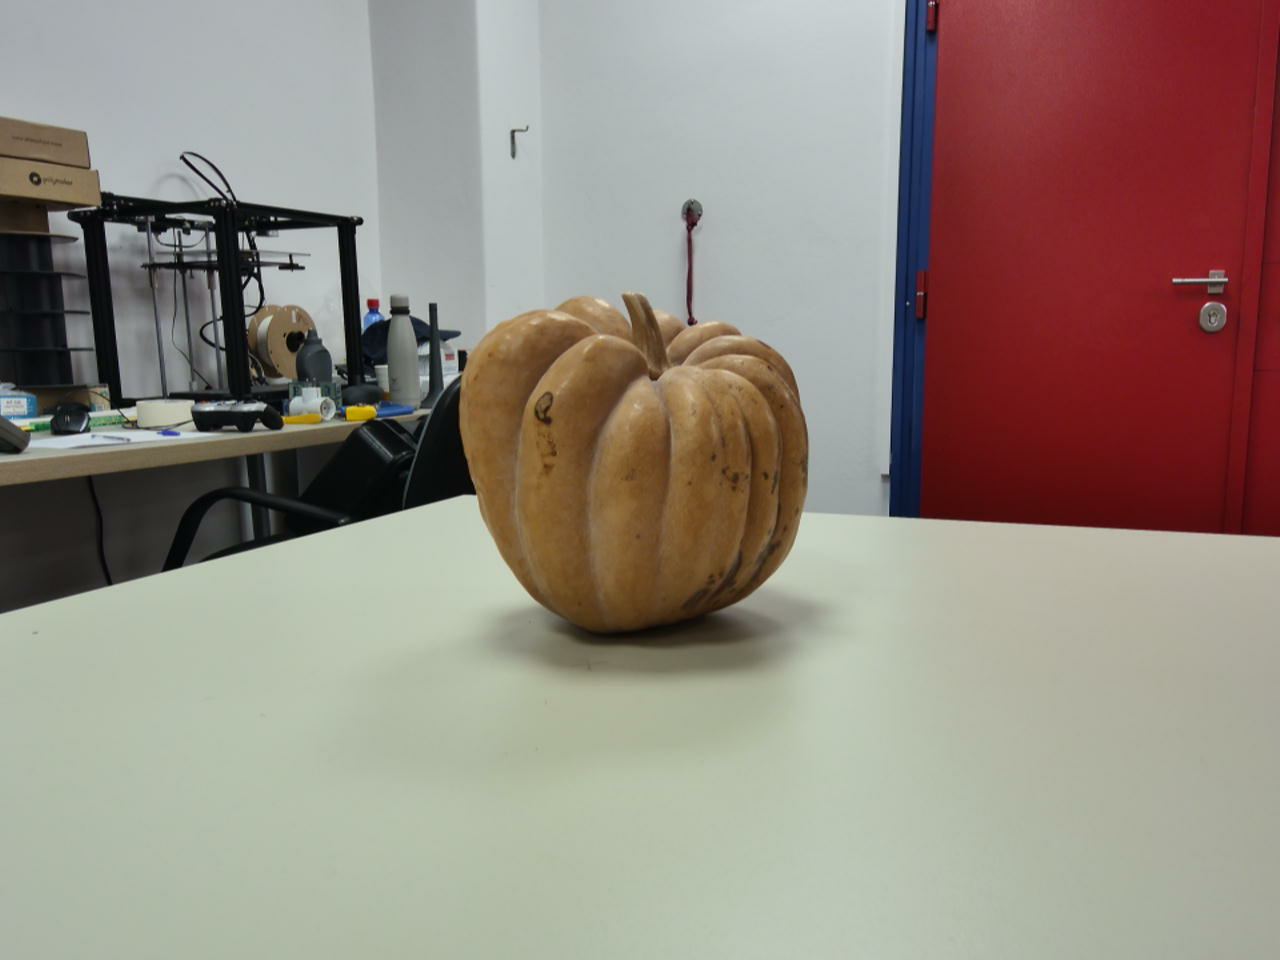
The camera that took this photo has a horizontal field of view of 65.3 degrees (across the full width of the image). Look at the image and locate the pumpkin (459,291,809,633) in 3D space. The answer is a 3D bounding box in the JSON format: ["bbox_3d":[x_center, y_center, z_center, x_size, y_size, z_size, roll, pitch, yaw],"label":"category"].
[{"bbox_3d":[-0.005,-0.012,0.539,0.199,0.177,0.198,-1,6,0],"label":"pumpkin"}]
